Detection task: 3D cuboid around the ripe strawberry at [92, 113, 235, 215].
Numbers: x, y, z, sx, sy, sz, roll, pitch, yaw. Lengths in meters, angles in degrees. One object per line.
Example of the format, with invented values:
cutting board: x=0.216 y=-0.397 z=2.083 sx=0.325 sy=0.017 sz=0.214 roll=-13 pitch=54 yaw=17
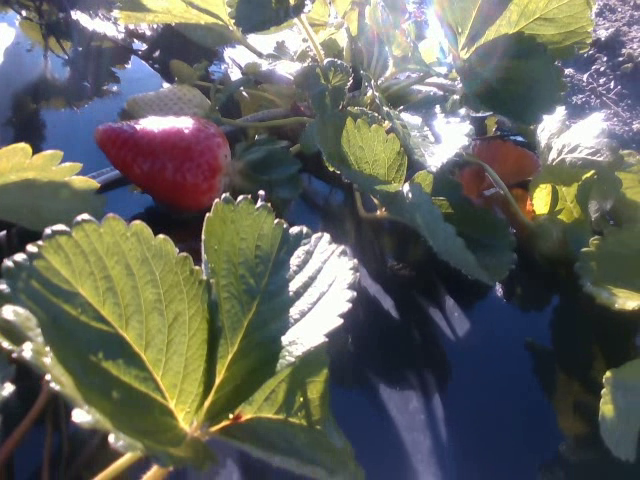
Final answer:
ripe strawberry: x=-0.068 y=-0.044 z=0.286 sx=0.080 sy=0.063 sz=0.040 roll=17 pitch=-27 yaw=-26
